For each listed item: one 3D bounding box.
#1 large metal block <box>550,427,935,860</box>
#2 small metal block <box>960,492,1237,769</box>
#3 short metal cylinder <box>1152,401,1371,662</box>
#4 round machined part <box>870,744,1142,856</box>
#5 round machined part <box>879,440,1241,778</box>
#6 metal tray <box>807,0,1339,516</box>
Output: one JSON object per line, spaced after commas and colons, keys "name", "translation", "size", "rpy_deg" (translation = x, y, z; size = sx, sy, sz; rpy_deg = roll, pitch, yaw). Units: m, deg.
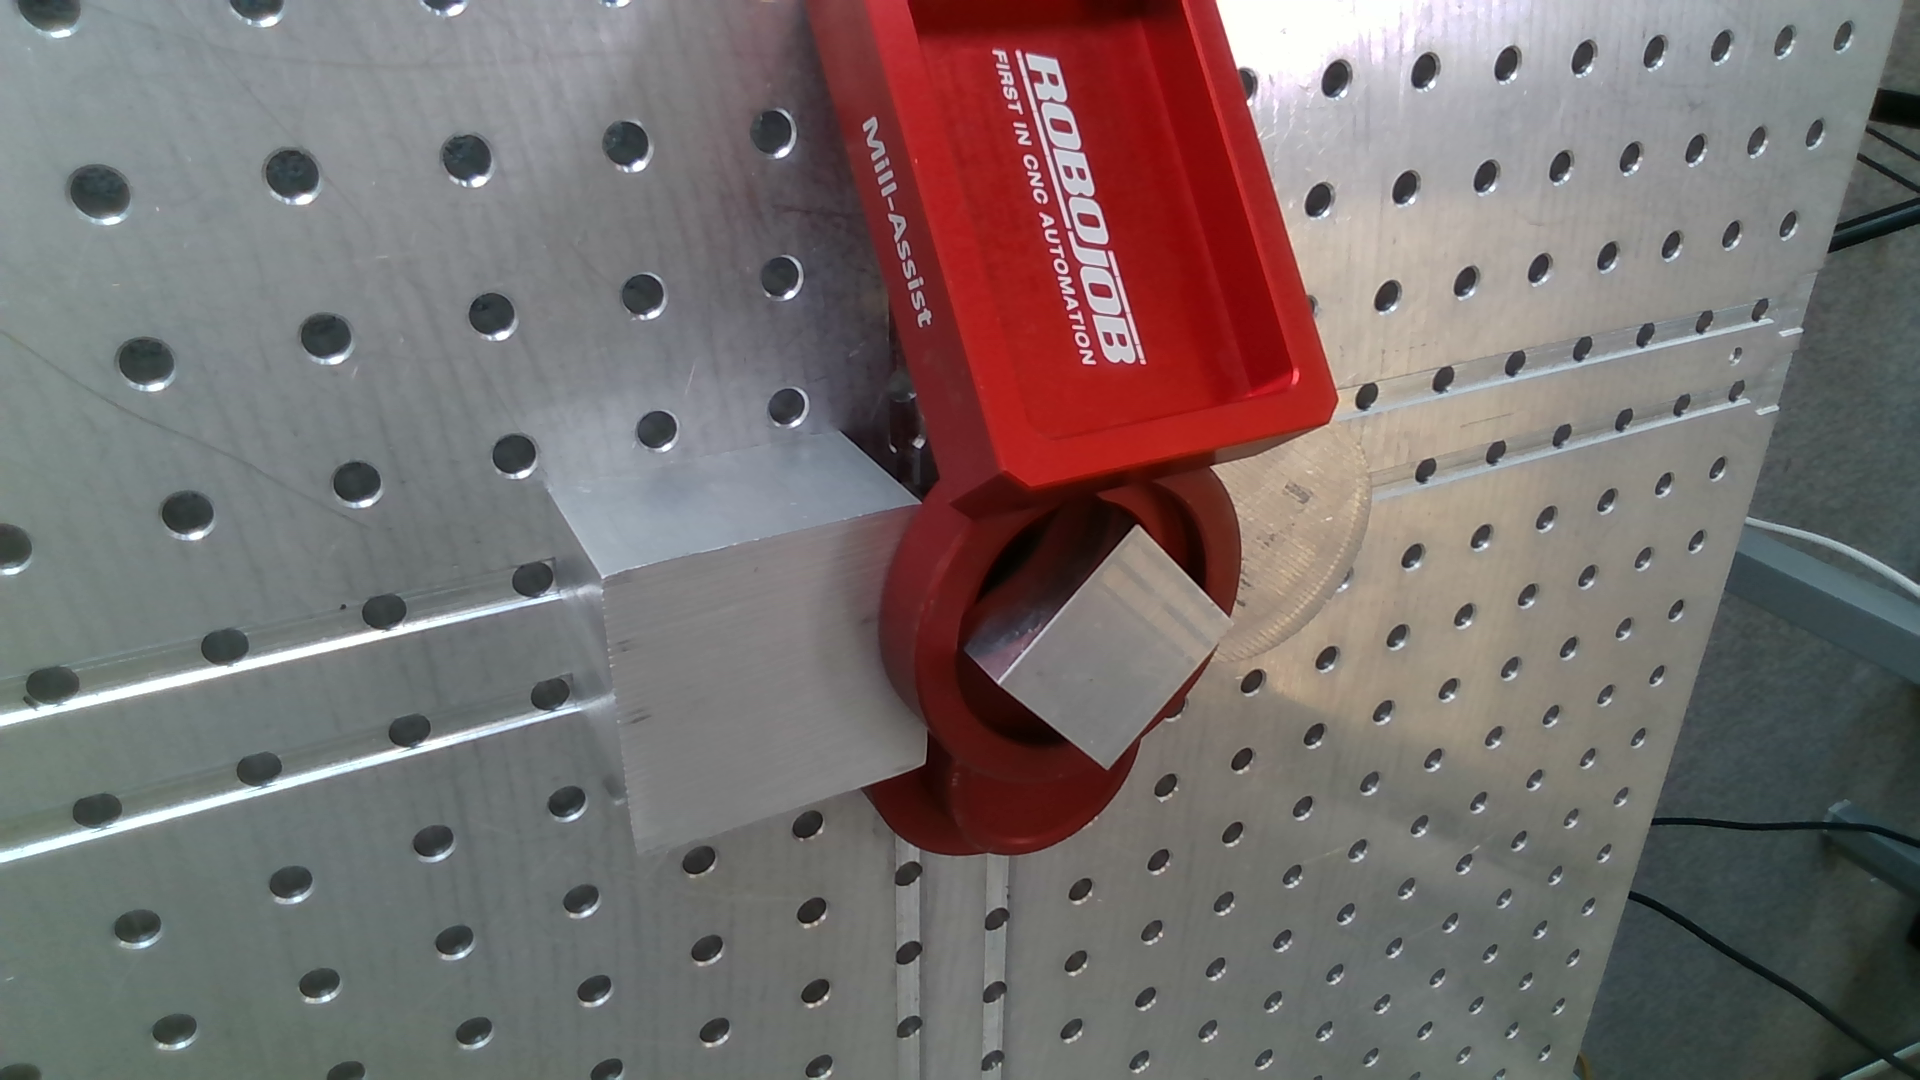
{"name": "large metal block", "translation": [-0.054, 0.024, 0.353], "size": [0.080, 0.050, 0.080], "rpy_deg": [-14, 121, -25]}
{"name": "small metal block", "translation": [0.034, 0.022, 0.346], "size": [0.050, 0.025, 0.050], "rpy_deg": [-49, 129, 0]}
{"name": "short metal cylinder", "translation": [0.076, -0.010, 0.418], "size": [0.080, 0.050, 0.080], "rpy_deg": [-14, 122, -25]}
{"name": "round machined part", "translation": [0.017, 0.057, 0.422], "size": [0.098, 0.042, 0.098], "rpy_deg": [-14, 122, -25]}
{"name": "round machined part", "translation": [0.023, 0.010, 0.364], "size": [0.098, 0.042, 0.098], "rpy_deg": [-14, 122, -25]}
{"name": "metal tray", "translation": [0.026, -0.079, 0.317], "size": [0.090, 0.030, 0.130], "rpy_deg": [-13, 84, -25]}
